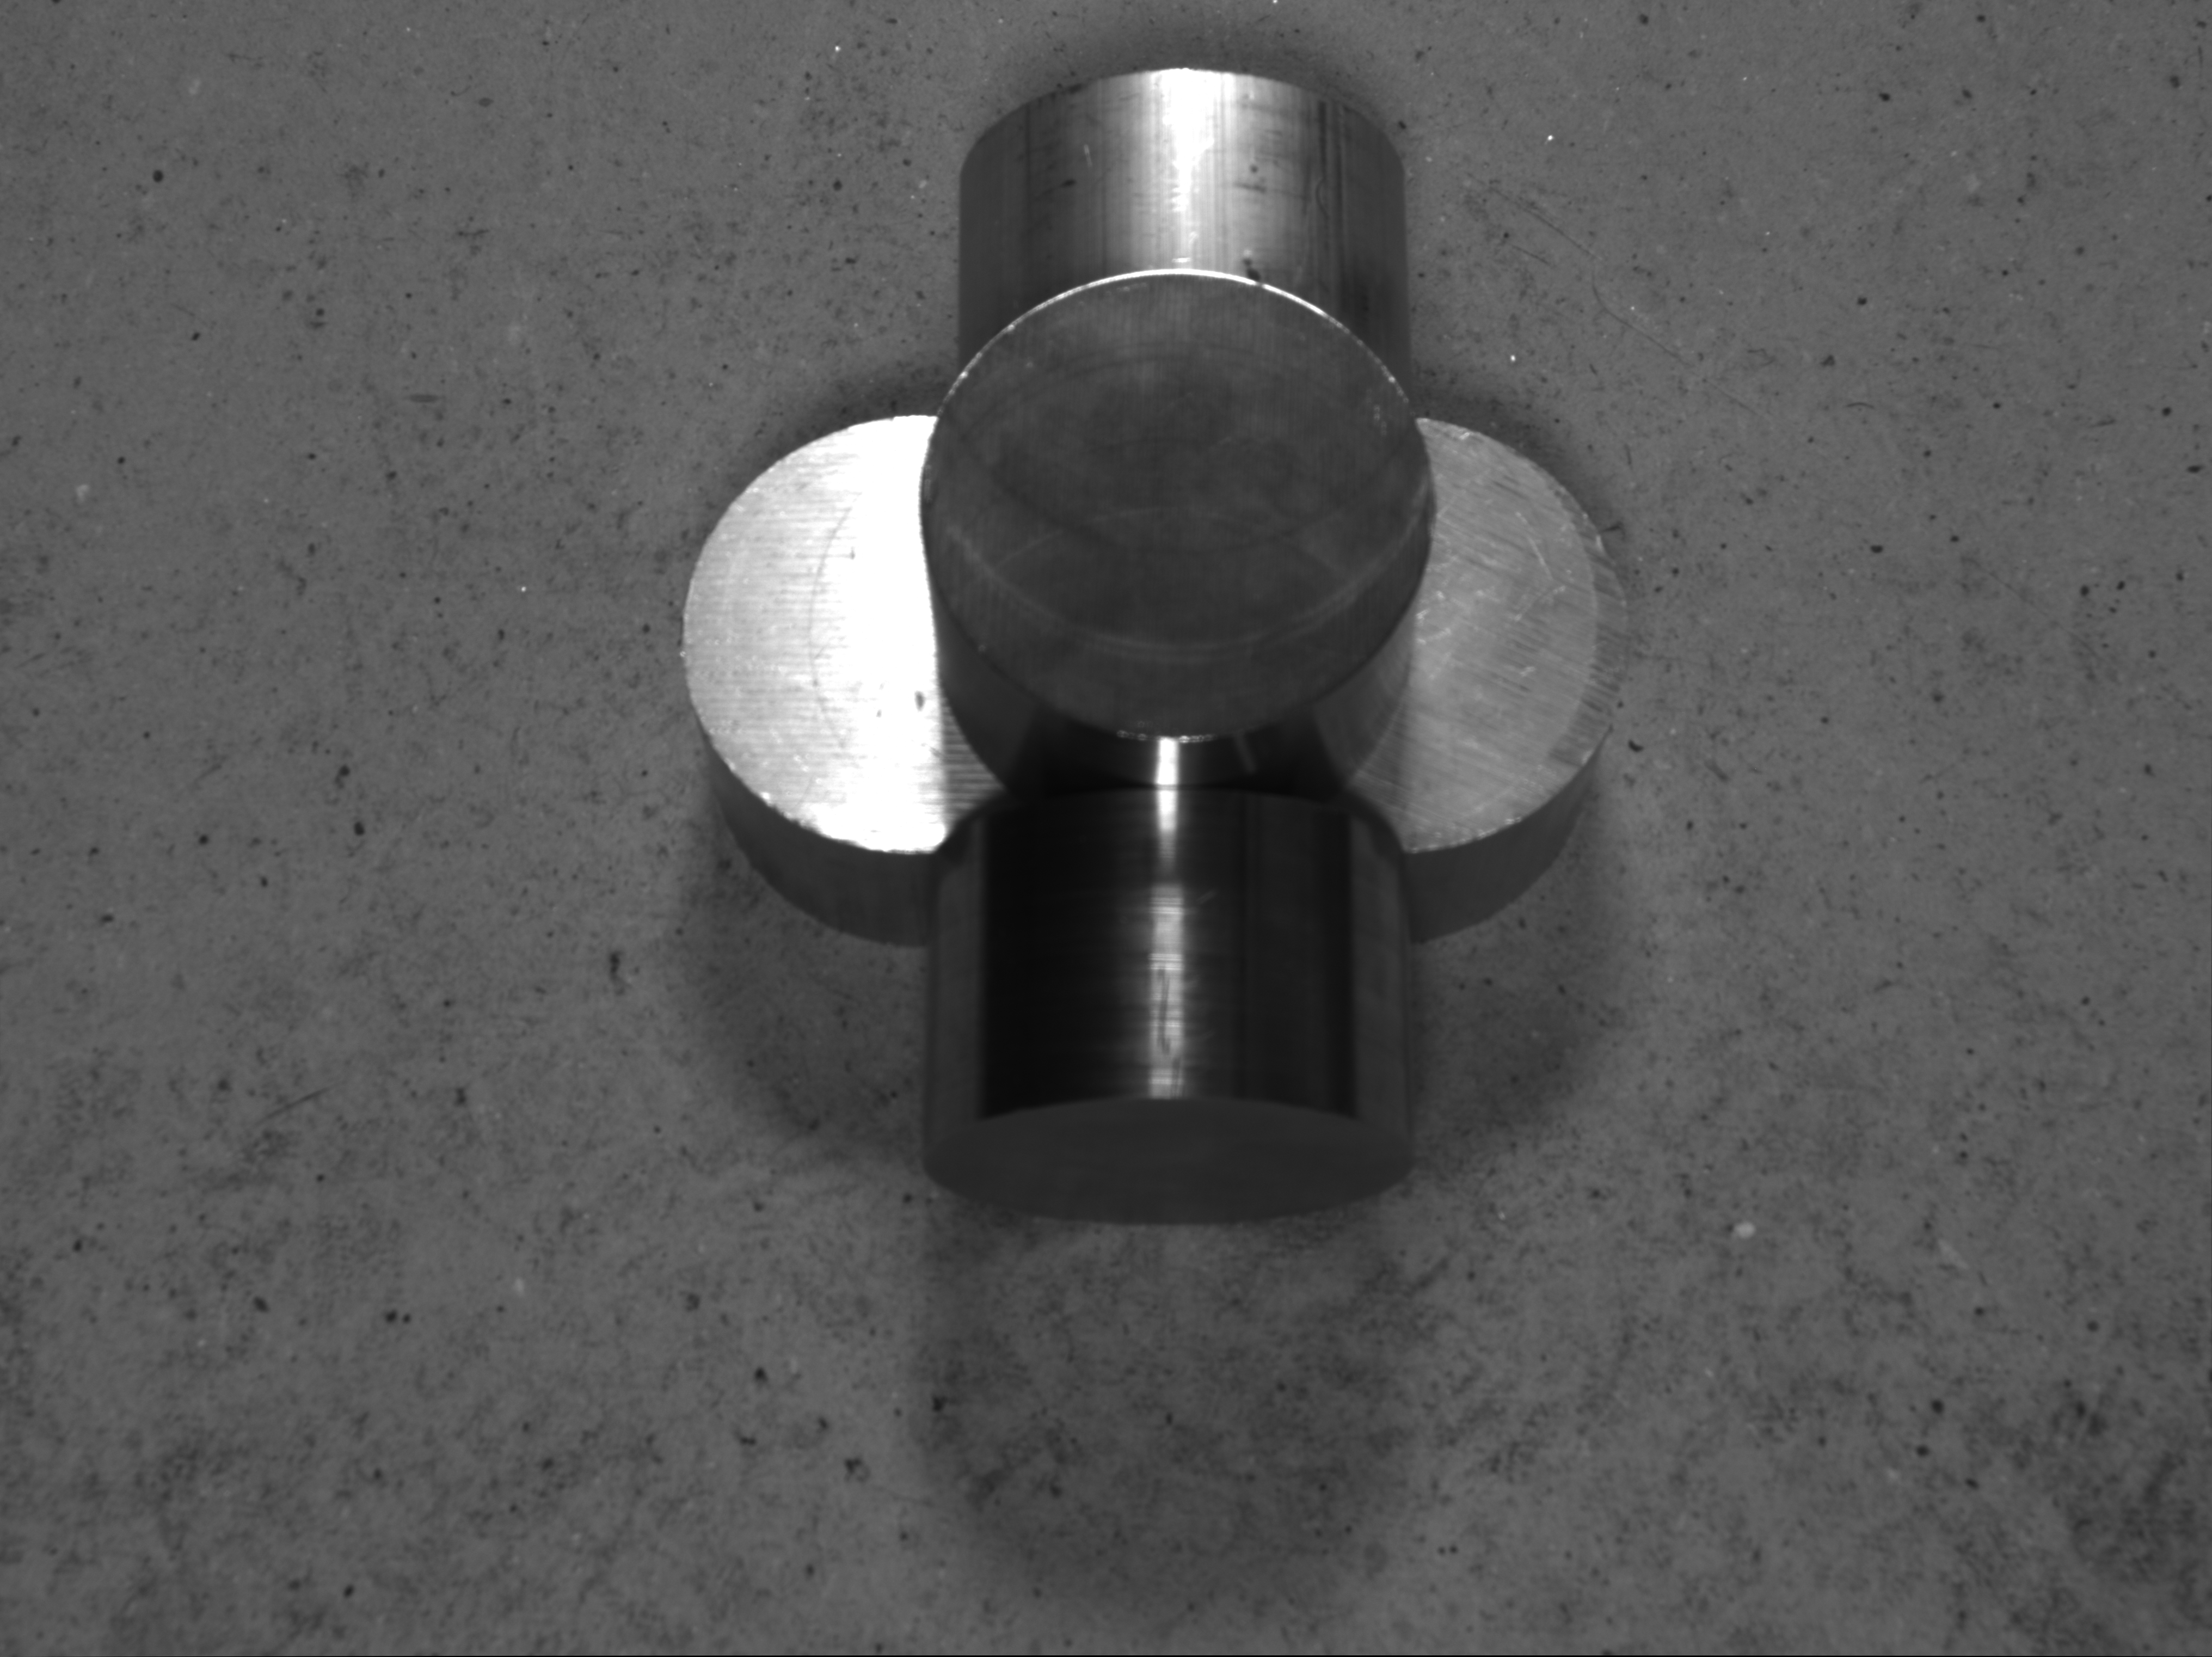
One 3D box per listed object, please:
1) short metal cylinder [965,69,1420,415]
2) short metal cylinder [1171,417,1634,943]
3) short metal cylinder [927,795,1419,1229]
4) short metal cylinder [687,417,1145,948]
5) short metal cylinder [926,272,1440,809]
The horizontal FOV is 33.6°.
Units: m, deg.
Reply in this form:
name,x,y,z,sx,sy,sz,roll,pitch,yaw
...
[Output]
name,x,y,z,sx,sy,sz,roll,pitch,yaw
short metal cylinder,0.015,-0.091,0.650,0.080,0.080,0.050,0,70,0
short metal cylinder,0.049,-0.025,0.641,0.080,0.050,0.080,0,70,0
short metal cylinder,0.011,0.032,0.604,0.080,0.080,0.050,0,70,0
short metal cylinder,-0.031,-0.025,0.641,0.080,0.050,0.080,0,70,0
short metal cylinder,0.012,-0.043,0.593,0.080,0.050,0.080,0,70,0
